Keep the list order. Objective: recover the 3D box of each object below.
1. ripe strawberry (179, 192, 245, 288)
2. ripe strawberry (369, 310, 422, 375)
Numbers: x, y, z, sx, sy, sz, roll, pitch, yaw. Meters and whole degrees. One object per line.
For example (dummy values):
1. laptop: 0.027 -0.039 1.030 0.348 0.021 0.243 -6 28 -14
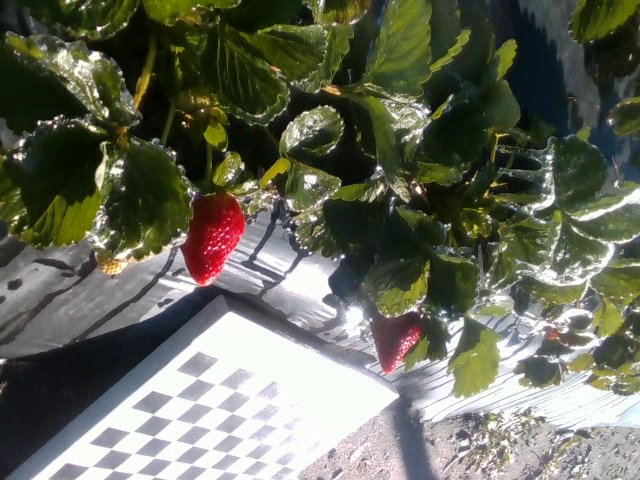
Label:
1. ripe strawberry: -0.068 0.003 0.357 0.043 0.061 0.046 19 -11 -42
2. ripe strawberry: 0.066 0.091 0.520 0.044 0.061 0.049 17 -8 44
